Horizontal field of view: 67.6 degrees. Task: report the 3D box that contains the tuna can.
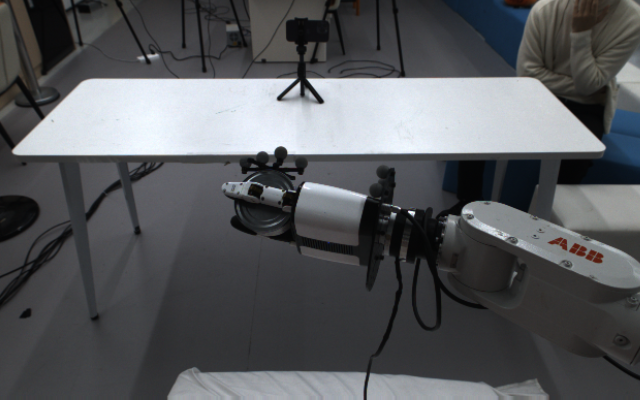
[{"bbox_3d":[-0.068,0.005,0.649,0.085,0.034,0.085,-3,73,10],"label":"tuna can"}]
